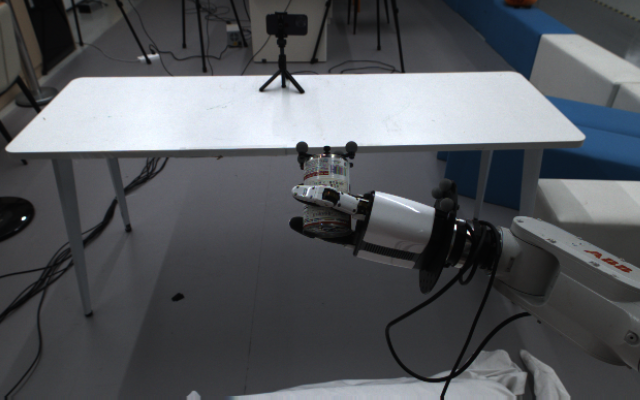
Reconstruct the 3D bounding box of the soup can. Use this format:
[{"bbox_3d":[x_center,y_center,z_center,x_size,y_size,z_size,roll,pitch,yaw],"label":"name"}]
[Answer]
[{"bbox_3d":[0.010,-0.004,0.668,0.067,0.067,0.101,1,73,-2],"label":"soup can"}]
